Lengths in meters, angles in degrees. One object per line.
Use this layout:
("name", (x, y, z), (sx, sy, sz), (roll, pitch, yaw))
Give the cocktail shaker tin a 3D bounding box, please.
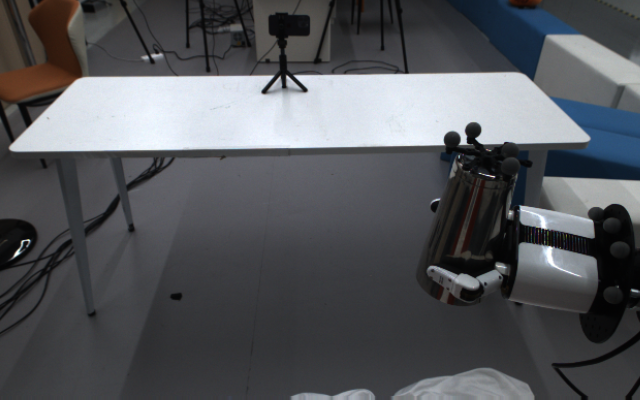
("cocktail shaker tin", (0.174, 0.029, 0.566), (0.093, 0.170, 0.093), (3, 35, -2))
